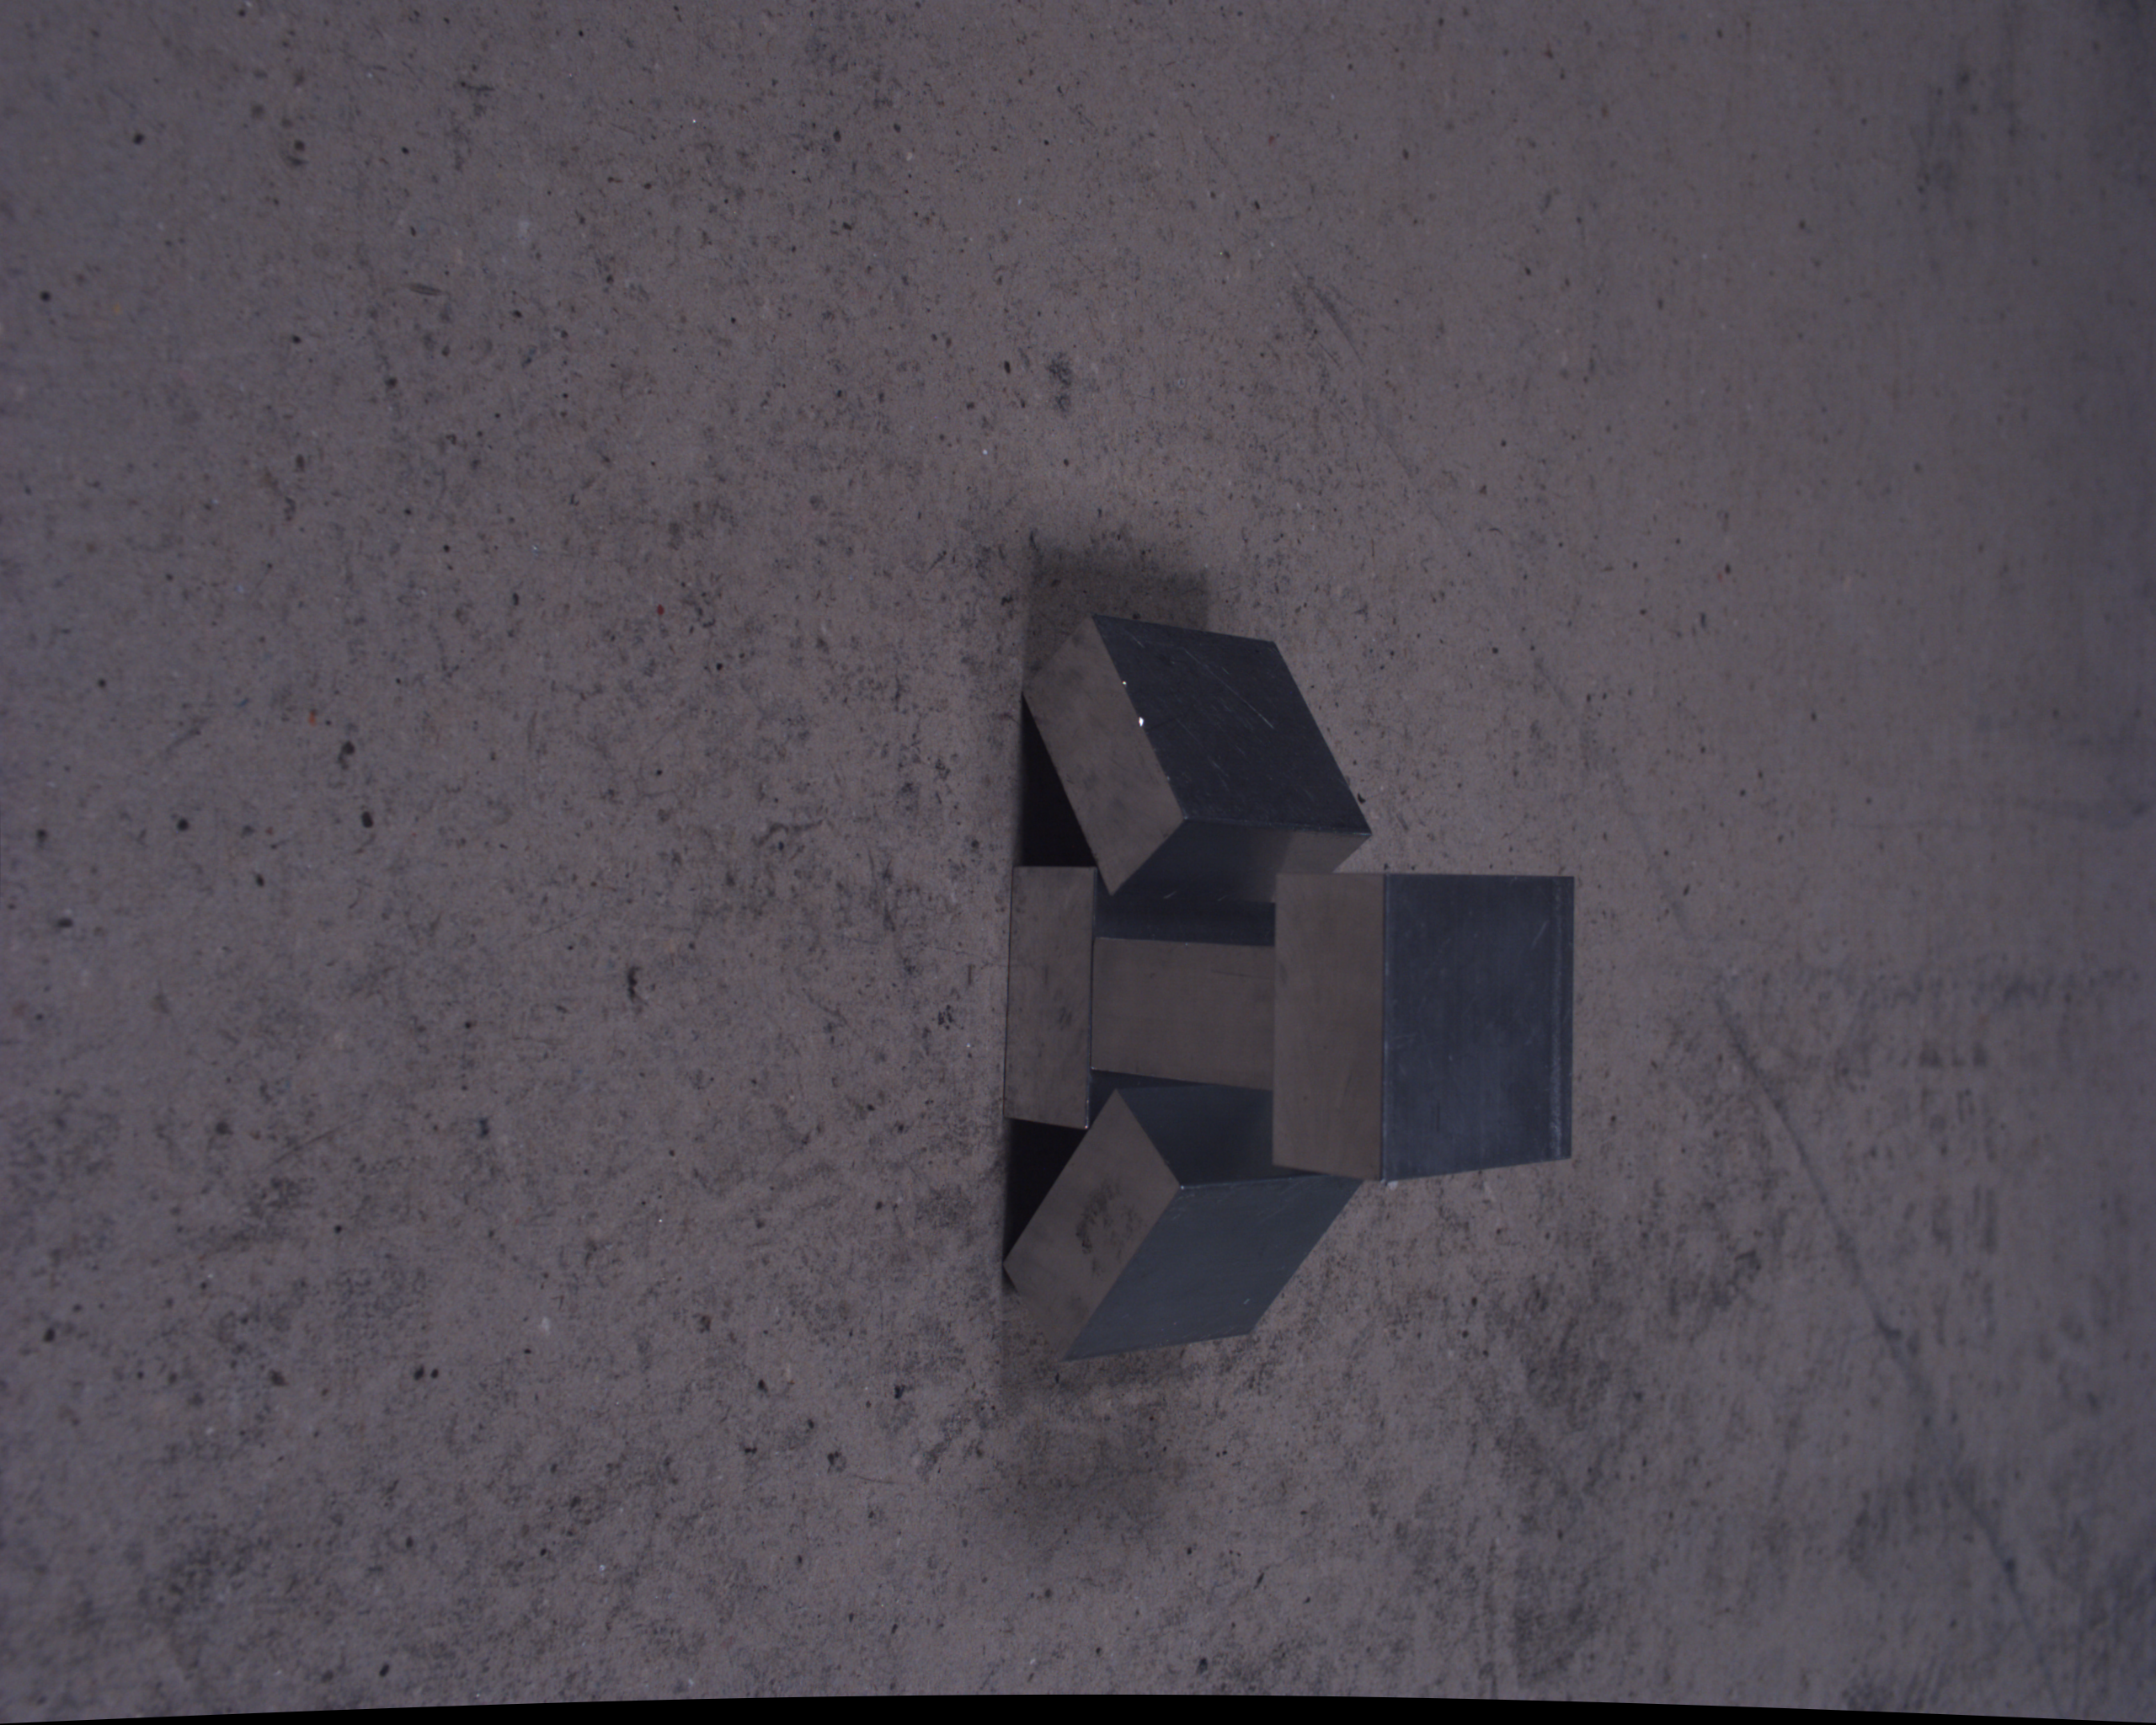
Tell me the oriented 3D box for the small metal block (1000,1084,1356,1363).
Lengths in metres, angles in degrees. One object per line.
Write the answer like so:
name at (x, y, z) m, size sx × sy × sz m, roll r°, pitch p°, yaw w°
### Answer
small metal block at (0.021, 0.070, 0.410) m, size 0.050 × 0.025 × 0.050 m, roll 3°, pitch 129°, yaw -40°

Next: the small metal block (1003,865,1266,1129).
small metal block at (0.013, 0.026, 0.420) m, size 0.050 × 0.025 × 0.050 m, roll 3°, pitch 88°, yaw -40°

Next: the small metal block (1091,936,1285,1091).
small metal block at (0.038, 0.027, 0.391) m, size 0.050 × 0.050 × 0.025 m, roll 3°, pitch 88°, yaw -40°

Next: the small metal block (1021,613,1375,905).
small metal block at (0.023, -0.020, 0.412) m, size 0.050 × 0.025 × 0.050 m, roll 3°, pitch 52°, yaw -40°

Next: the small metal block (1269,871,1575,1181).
small metal block at (0.060, 0.027, 0.361) m, size 0.050 × 0.025 × 0.050 m, roll 1°, pitch 89°, yaw -40°
